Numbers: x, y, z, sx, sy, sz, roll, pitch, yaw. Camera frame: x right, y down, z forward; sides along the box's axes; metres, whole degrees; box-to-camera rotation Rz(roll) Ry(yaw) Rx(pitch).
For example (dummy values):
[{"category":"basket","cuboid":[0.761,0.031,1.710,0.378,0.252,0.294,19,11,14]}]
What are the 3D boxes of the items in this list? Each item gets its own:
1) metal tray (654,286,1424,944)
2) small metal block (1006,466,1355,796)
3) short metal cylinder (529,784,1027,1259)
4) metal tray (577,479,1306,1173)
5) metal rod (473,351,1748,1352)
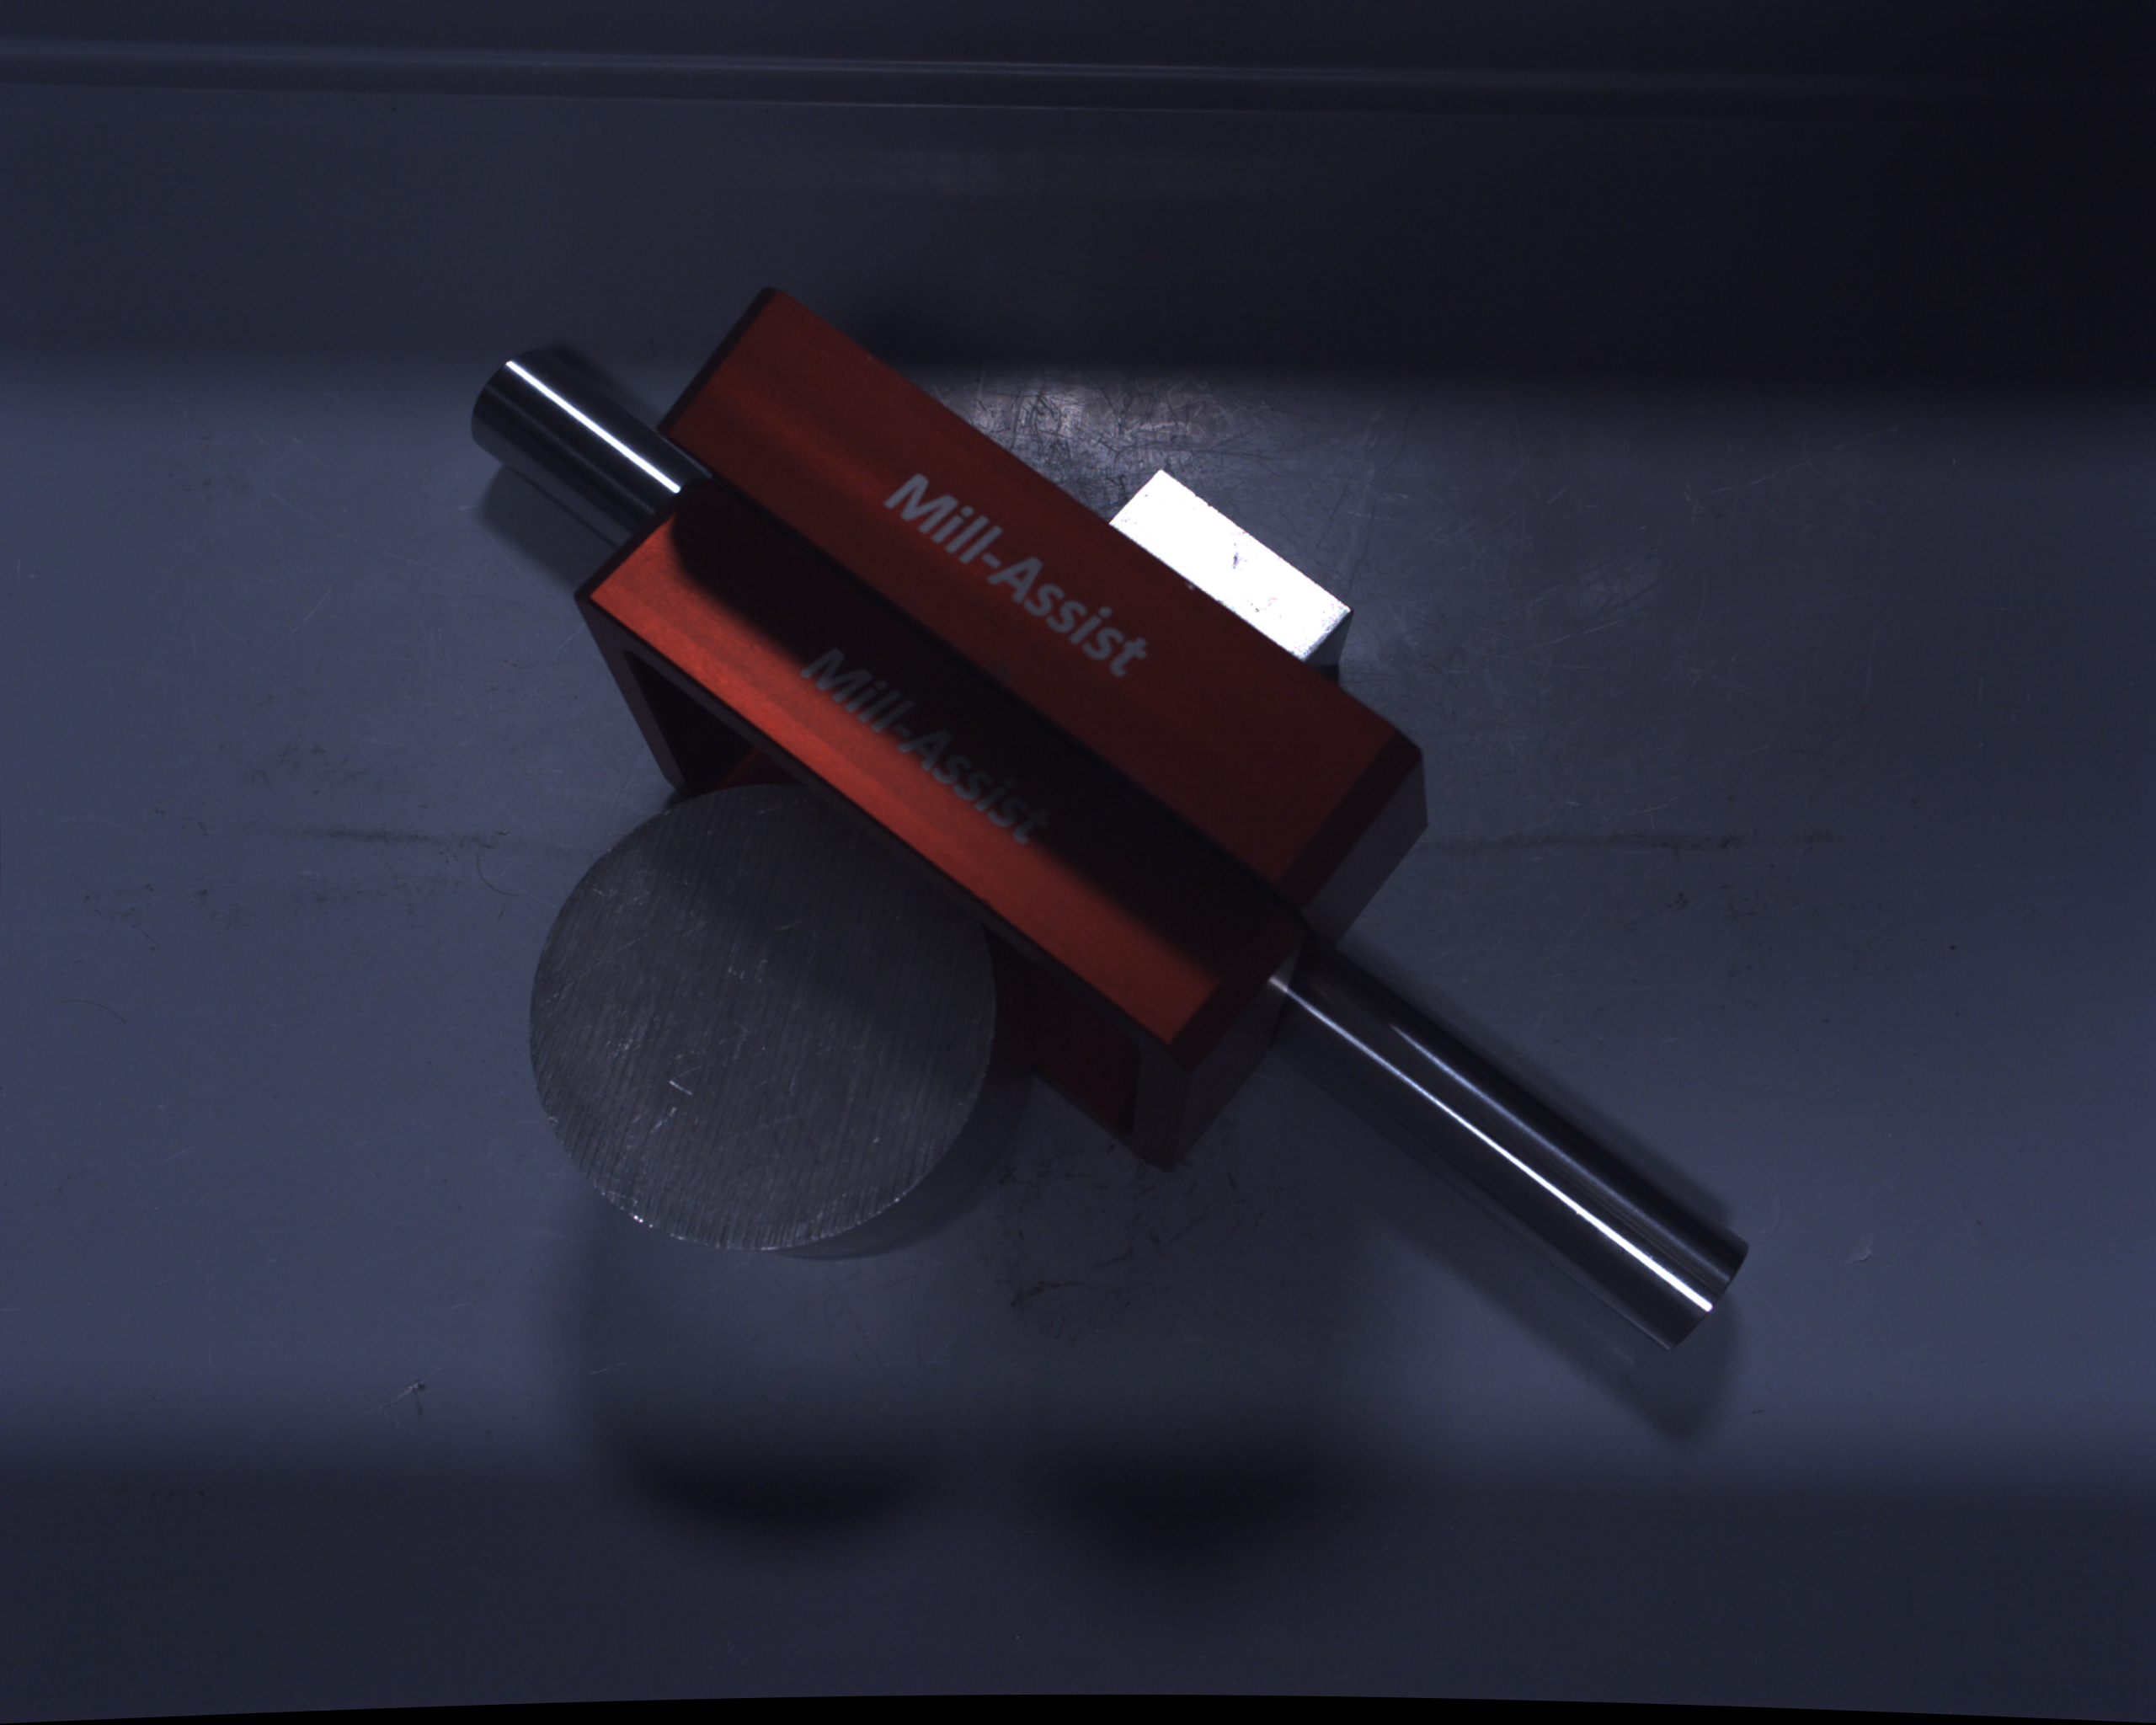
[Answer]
[{"category":"metal tray","cuboid":[-0.002,-0.039,0.361,0.130,0.090,0.030,37,91,12]},{"category":"small metal block","cuboid":[0.019,-0.044,0.424,0.050,0.025,0.050,39,74,12]},{"category":"short metal cylinder","cuboid":[-0.051,0.031,0.377,0.080,0.050,0.080,-1,77,5]},{"category":"metal tray","cuboid":[-0.024,-0.003,0.375,0.130,0.090,0.030,37,74,12]},{"category":"metal rod","cuboid":[-0.002,-0.009,0.413,0.300,0.025,0.025,37,74,12]}]
